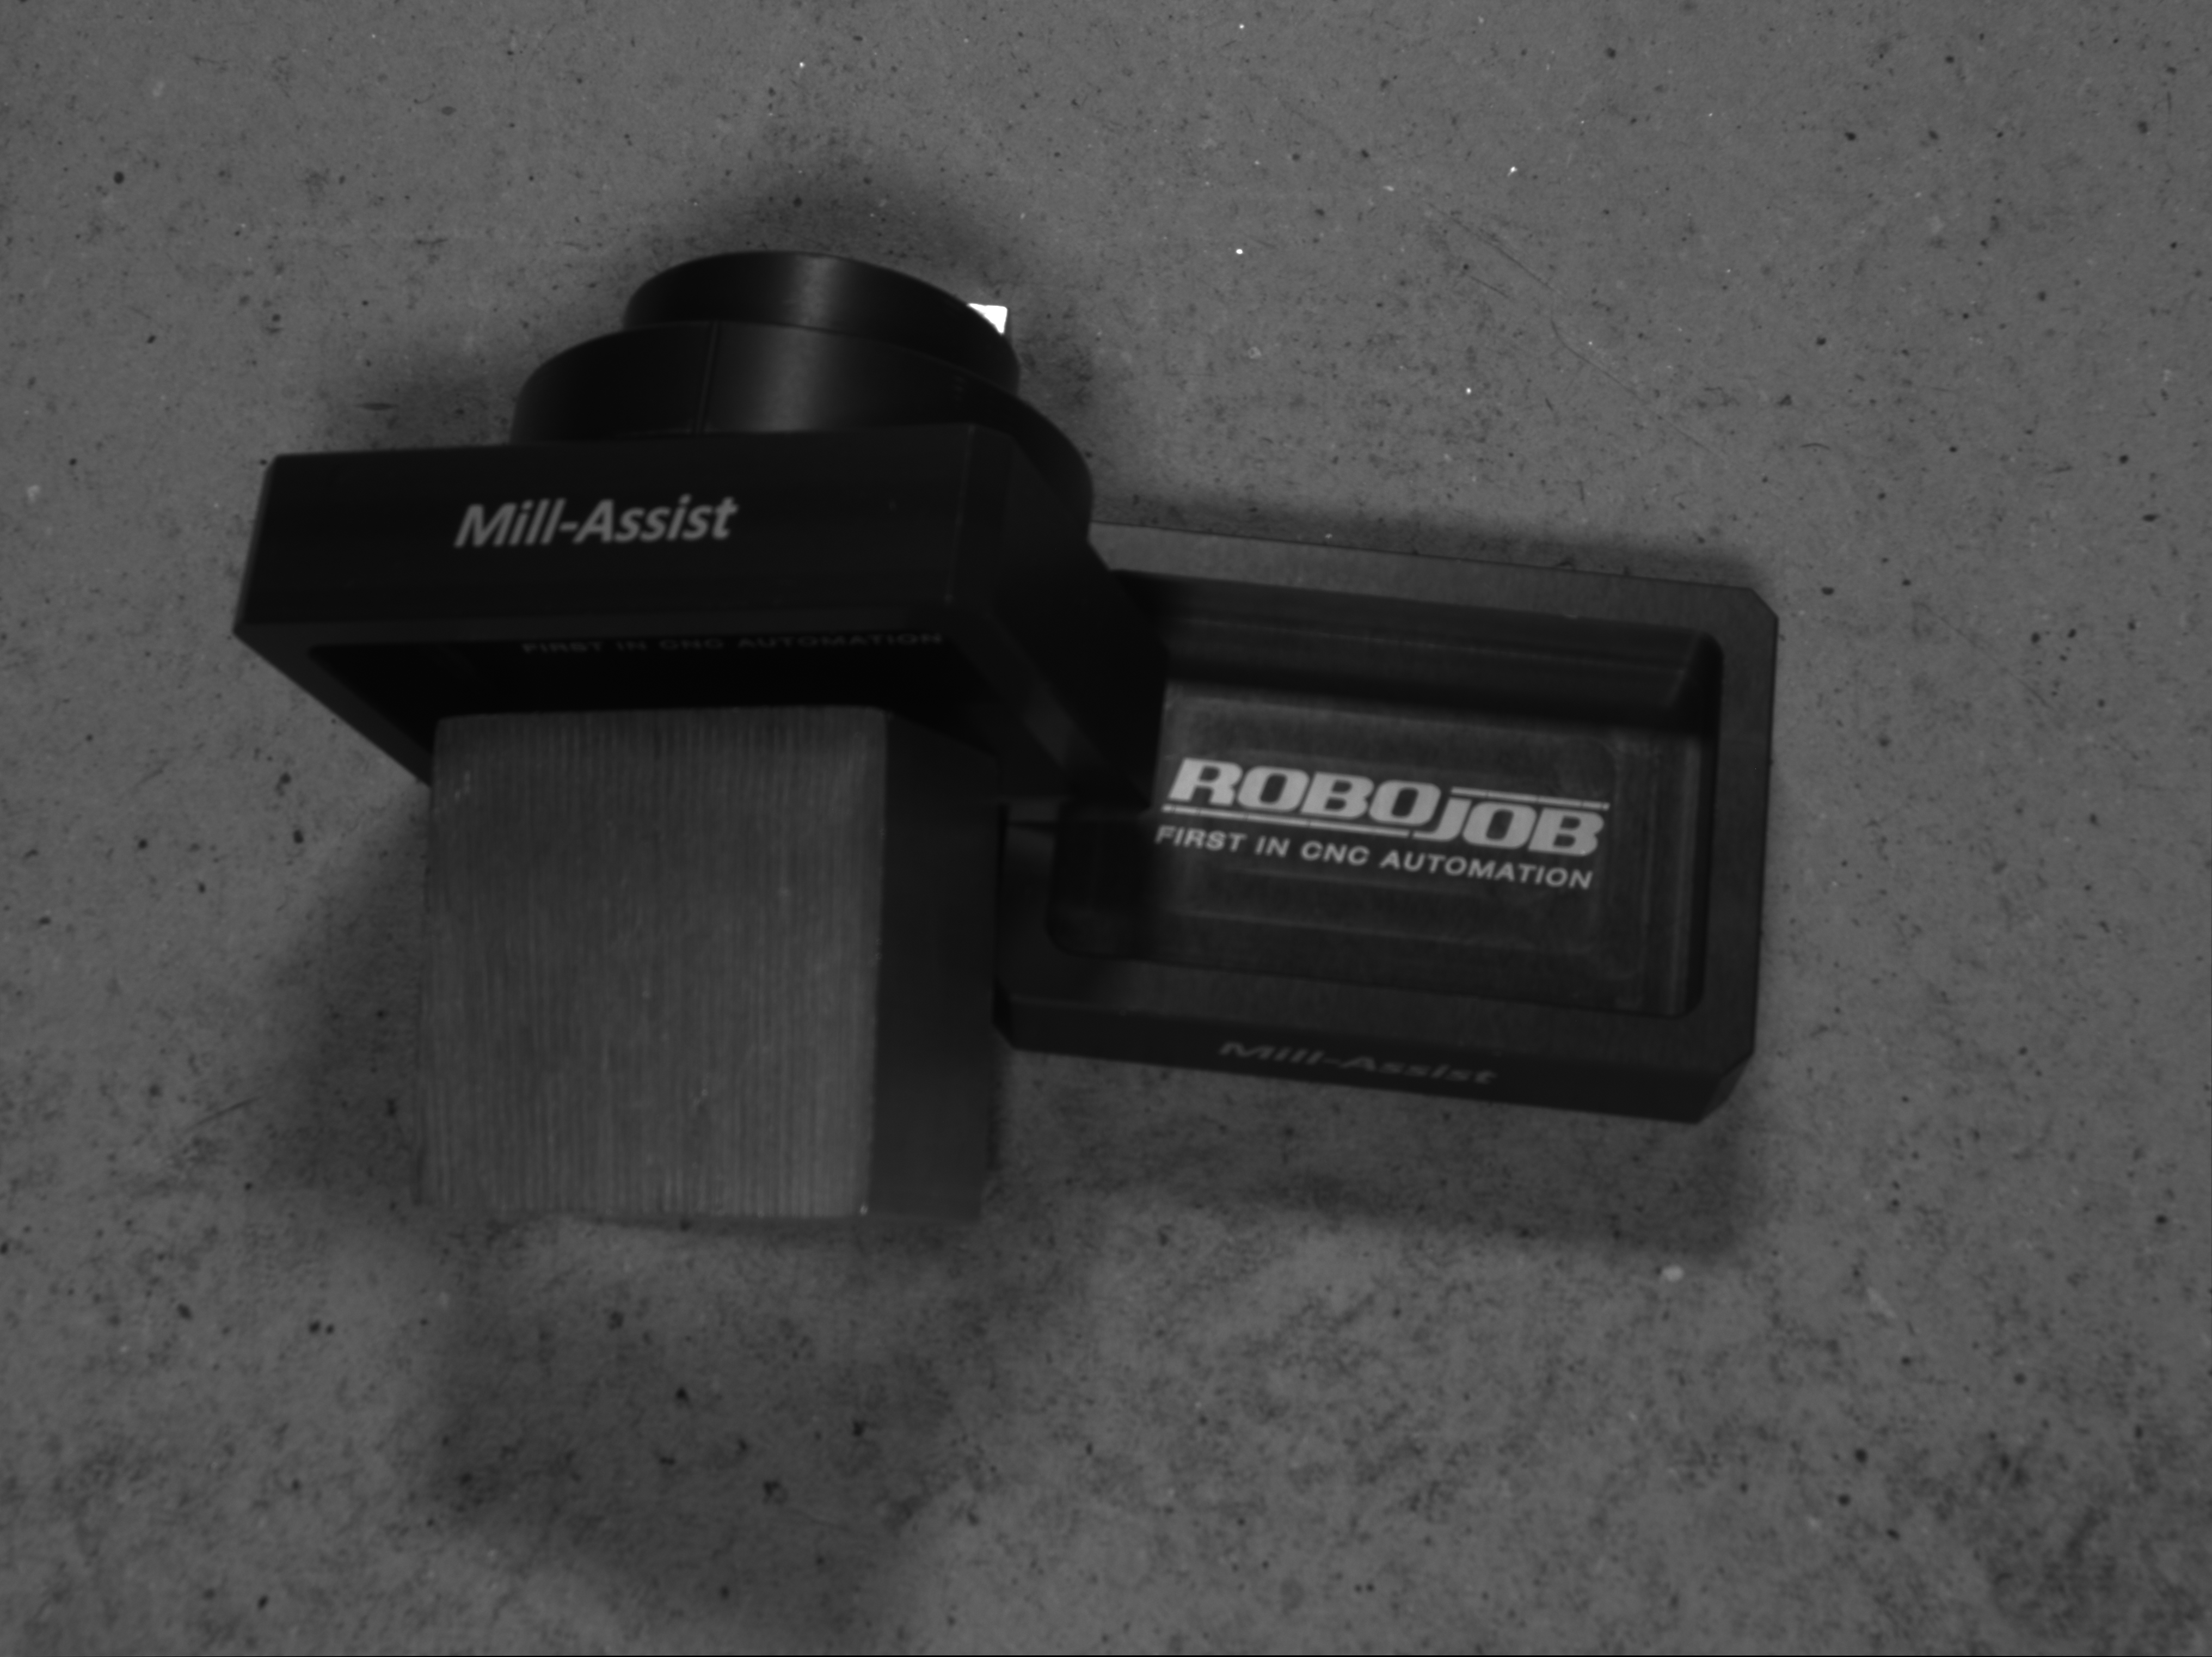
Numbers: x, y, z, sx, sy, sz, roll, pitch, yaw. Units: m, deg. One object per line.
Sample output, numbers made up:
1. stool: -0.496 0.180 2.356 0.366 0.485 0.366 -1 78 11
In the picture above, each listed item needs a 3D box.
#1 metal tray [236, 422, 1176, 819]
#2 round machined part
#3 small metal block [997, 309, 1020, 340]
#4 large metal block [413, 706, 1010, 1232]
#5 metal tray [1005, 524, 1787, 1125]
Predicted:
1. metal tray: -0.064 -0.031 0.603 0.130 0.090 0.030 0 69 20
2. round machined part: -0.049 -0.063 0.618 0.098 0.098 0.042 6 70 2
3. small metal block: -0.043 -0.070 0.671 0.050 0.025 0.050 6 70 2
4. large metal block: -0.064 0.024 0.603 0.080 0.050 0.080 -1 82 19
5. metal tray: 0.050 -0.001 0.643 0.130 0.030 0.090 6 70 2
